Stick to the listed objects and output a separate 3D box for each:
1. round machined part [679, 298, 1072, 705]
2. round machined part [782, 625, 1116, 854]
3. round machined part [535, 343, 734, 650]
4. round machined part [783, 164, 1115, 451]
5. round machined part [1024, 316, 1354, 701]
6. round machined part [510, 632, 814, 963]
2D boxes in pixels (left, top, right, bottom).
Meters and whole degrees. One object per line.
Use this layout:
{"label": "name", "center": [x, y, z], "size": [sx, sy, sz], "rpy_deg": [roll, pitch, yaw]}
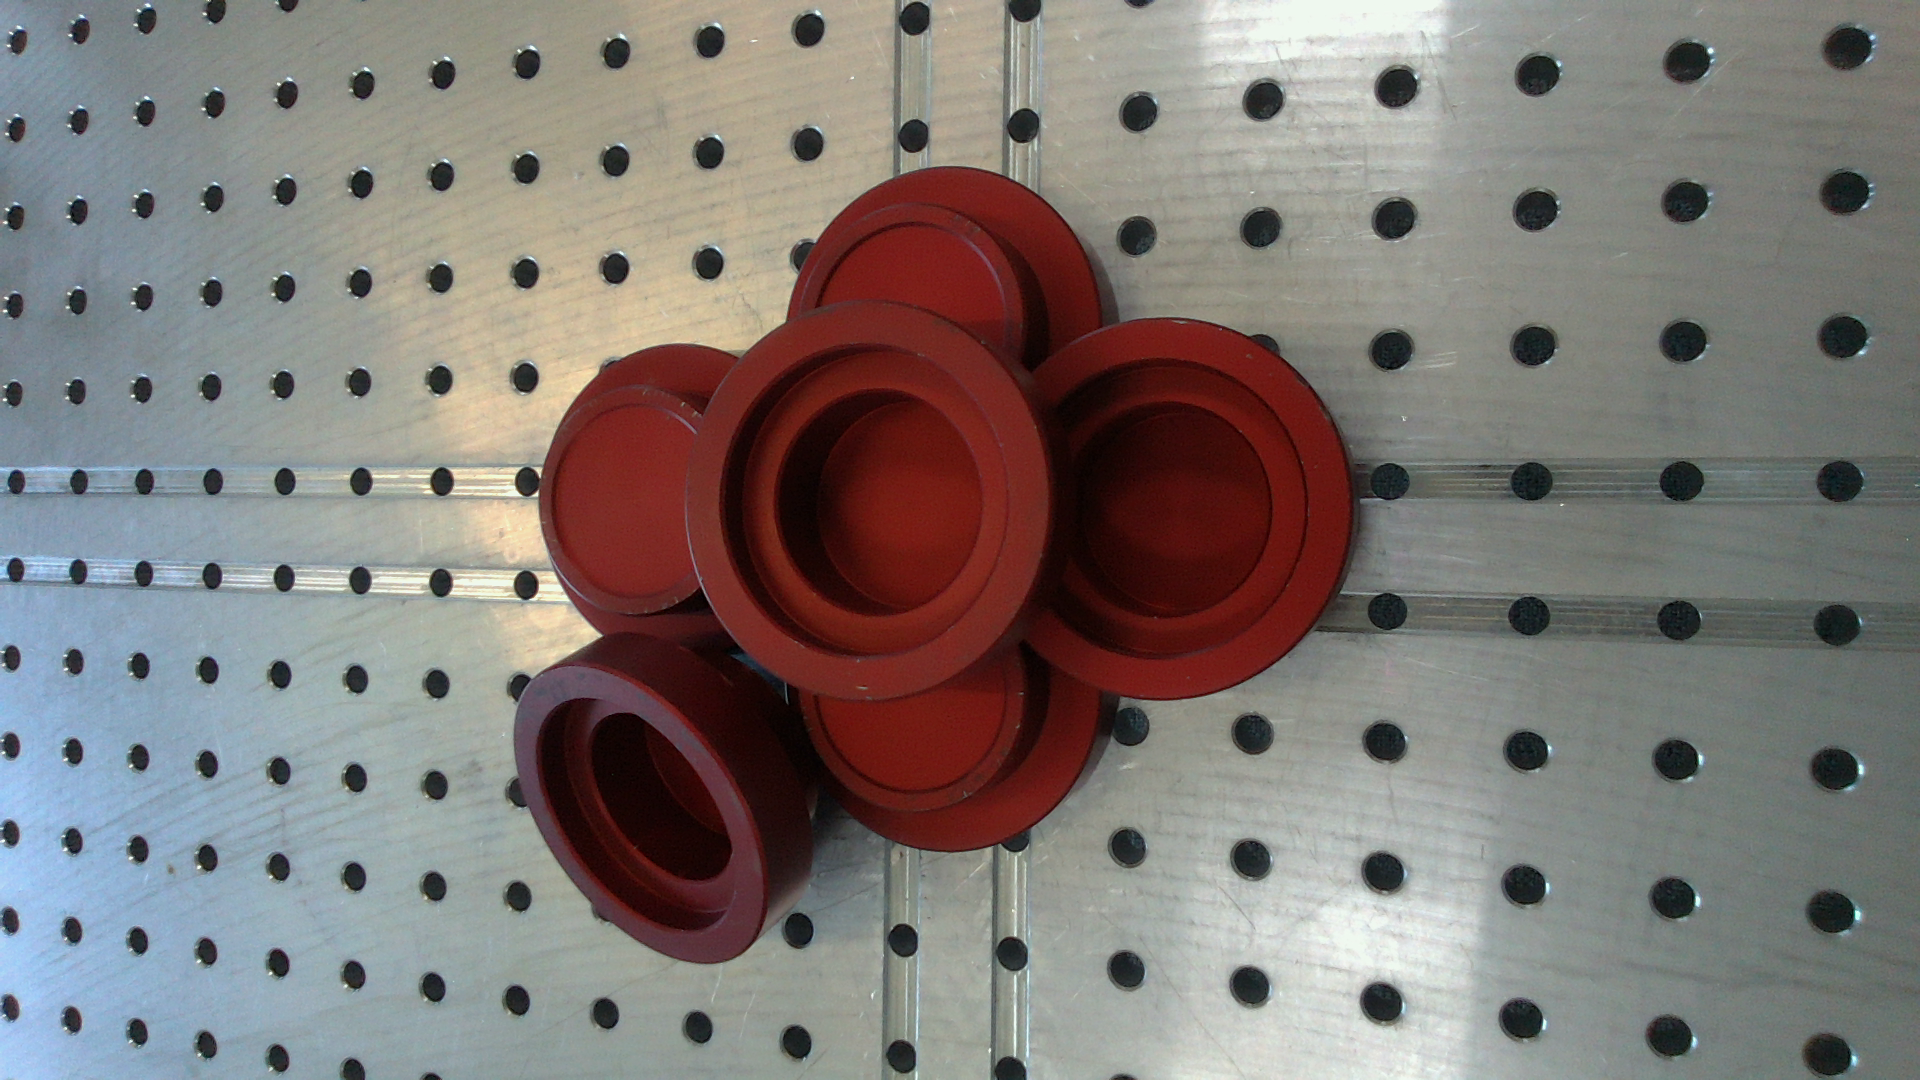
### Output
{"label": "round machined part", "center": [-0.018, -0.009, 0.350], "size": [0.098, 0.042, 0.098], "rpy_deg": [0, 90, 20]}
{"label": "round machined part", "center": [-0.008, 0.040, 0.392], "size": [0.098, 0.042, 0.098], "rpy_deg": [0, 90, 20]}
{"label": "round machined part", "center": [-0.089, -0.012, 0.421], "size": [0.098, 0.042, 0.098], "rpy_deg": [0, 90, 20]}
{"label": "round machined part", "center": [-0.008, -0.058, 0.392], "size": [0.098, 0.042, 0.098], "rpy_deg": [0, 90, 20]}
{"label": "round machined part", "center": [0.056, -0.008, 0.369], "size": [0.098, 0.042, 0.098], "rpy_deg": [0, 90, 20]}
{"label": "round machined part", "center": [-0.082, 0.071, 0.405], "size": [0.098, 0.042, 0.098], "rpy_deg": [15, 120, 28]}
